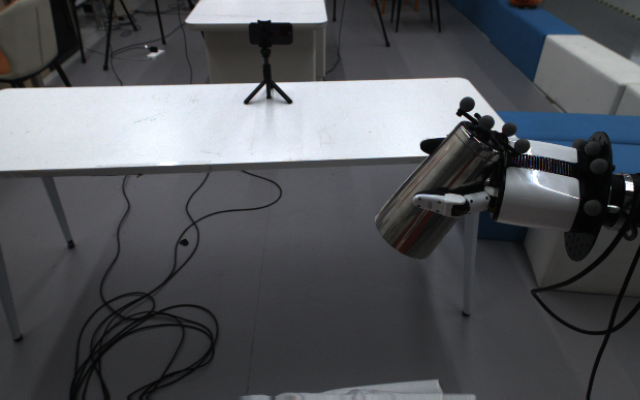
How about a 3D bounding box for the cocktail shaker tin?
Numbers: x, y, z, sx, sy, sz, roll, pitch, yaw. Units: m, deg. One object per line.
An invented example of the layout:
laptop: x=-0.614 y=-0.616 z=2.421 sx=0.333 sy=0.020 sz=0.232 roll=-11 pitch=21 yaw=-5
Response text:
cocktail shaker tin: x=0.156 y=-0.020 z=0.626 sx=0.093 sy=0.170 sz=0.093 roll=26 pitch=32 yaw=-18
